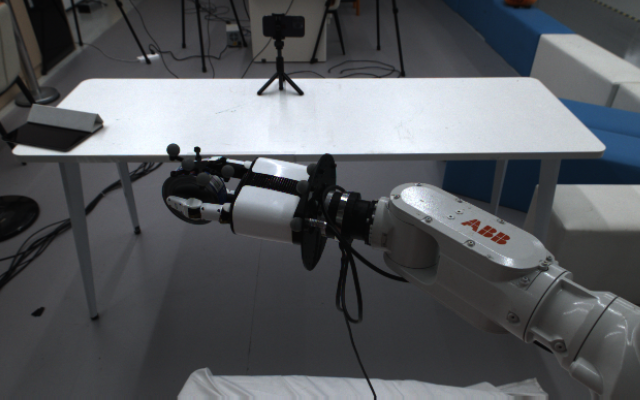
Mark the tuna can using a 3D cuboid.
[{"bbox_3d":[-0.176,-0.008,0.687,0.085,0.085,0.034,9,34,10],"label":"tuna can"}]
